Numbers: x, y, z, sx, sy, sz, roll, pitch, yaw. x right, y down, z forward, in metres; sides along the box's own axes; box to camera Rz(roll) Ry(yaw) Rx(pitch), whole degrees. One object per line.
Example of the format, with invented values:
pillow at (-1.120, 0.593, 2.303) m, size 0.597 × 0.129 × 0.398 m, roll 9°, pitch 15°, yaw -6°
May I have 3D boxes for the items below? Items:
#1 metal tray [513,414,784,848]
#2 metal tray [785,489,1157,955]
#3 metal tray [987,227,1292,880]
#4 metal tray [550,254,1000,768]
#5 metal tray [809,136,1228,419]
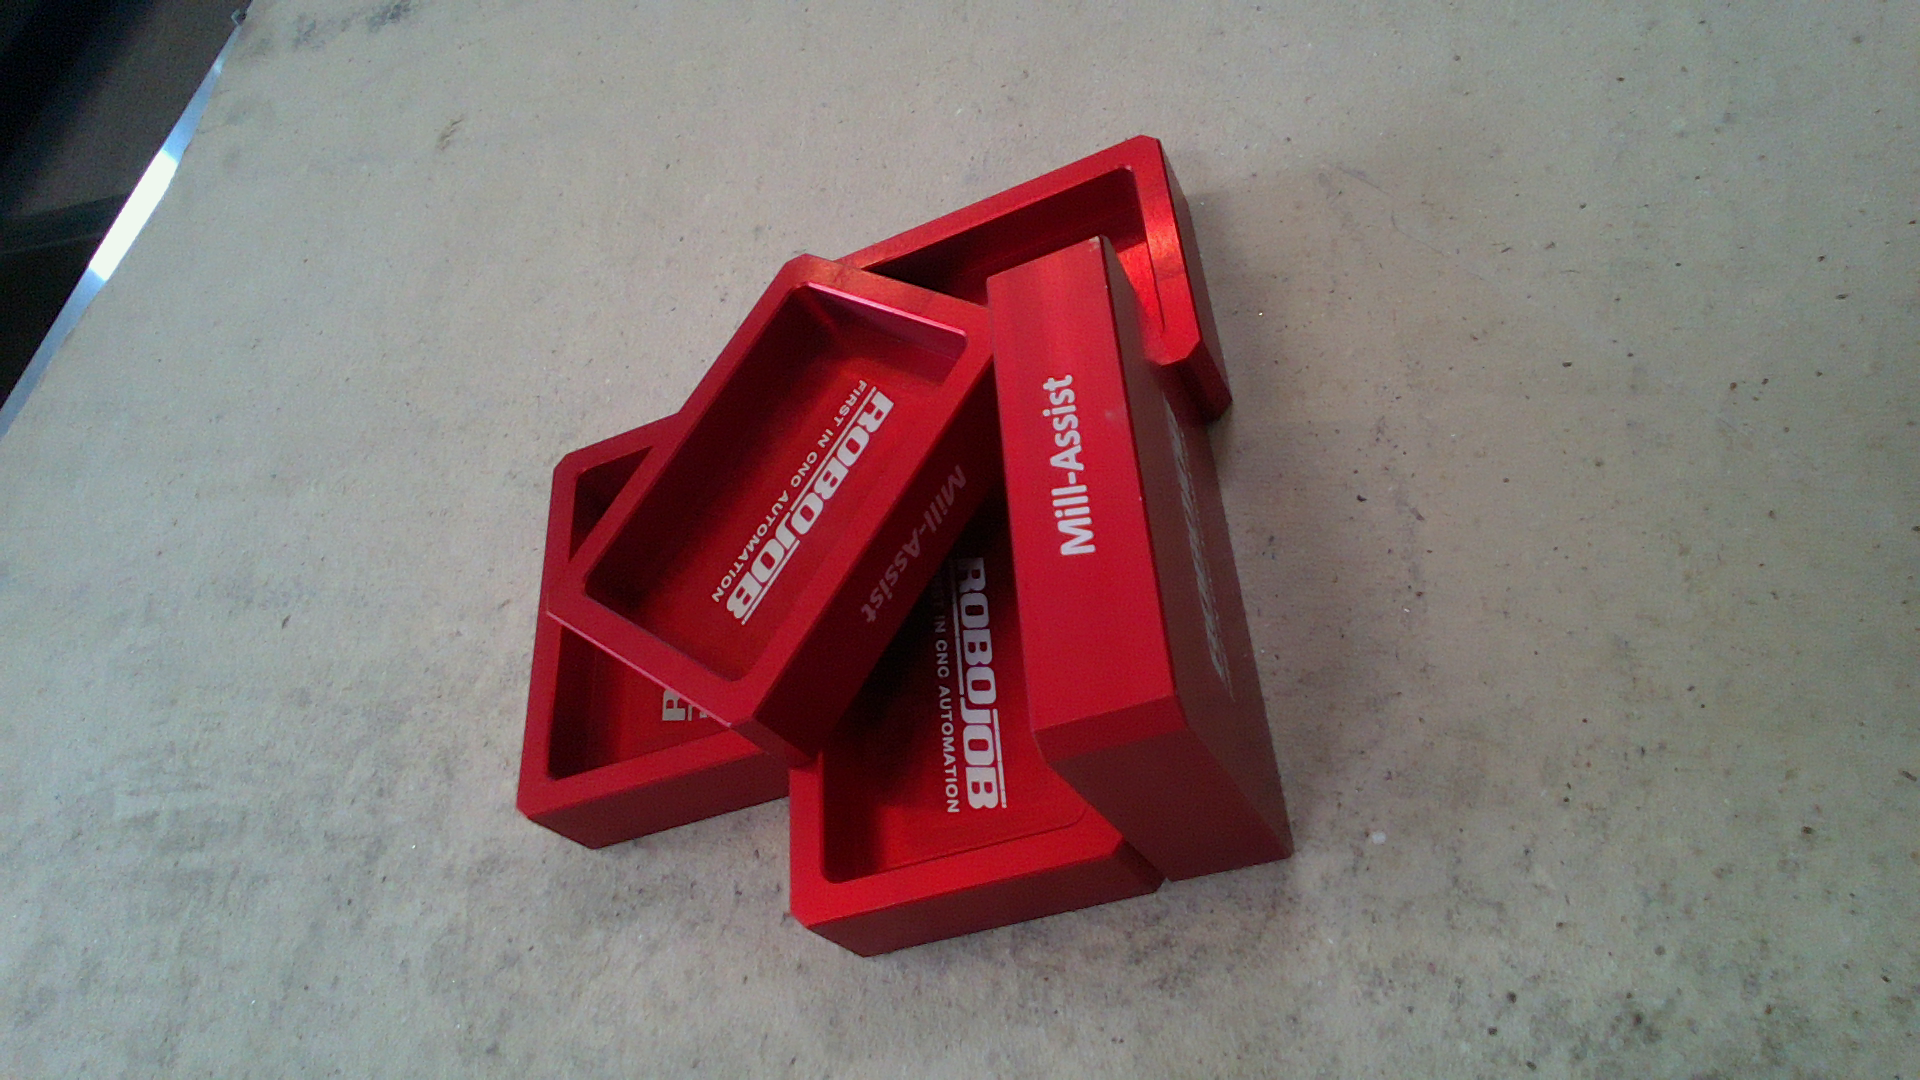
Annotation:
metal tray at (-0.085, 0.020, 0.424) m, size 0.090 × 0.030 × 0.130 m, roll -18°, pitch 54°, yaw 19°
metal tray at (-0.001, 0.035, 0.368) m, size 0.090 × 0.030 × 0.130 m, roll -18°, pitch 55°, yaw 19°
metal tray at (0.042, 0.003, 0.324) m, size 0.030 × 0.090 × 0.130 m, roll -17°, pitch 55°, yaw 19°
metal tray at (-0.045, -0.013, 0.386) m, size 0.090 × 0.030 × 0.130 m, roll 23°, pitch 75°, yaw 37°
metal tray at (0.010, -0.062, 0.425) m, size 0.130 × 0.030 × 0.090 m, roll -18°, pitch 54°, yaw 19°
